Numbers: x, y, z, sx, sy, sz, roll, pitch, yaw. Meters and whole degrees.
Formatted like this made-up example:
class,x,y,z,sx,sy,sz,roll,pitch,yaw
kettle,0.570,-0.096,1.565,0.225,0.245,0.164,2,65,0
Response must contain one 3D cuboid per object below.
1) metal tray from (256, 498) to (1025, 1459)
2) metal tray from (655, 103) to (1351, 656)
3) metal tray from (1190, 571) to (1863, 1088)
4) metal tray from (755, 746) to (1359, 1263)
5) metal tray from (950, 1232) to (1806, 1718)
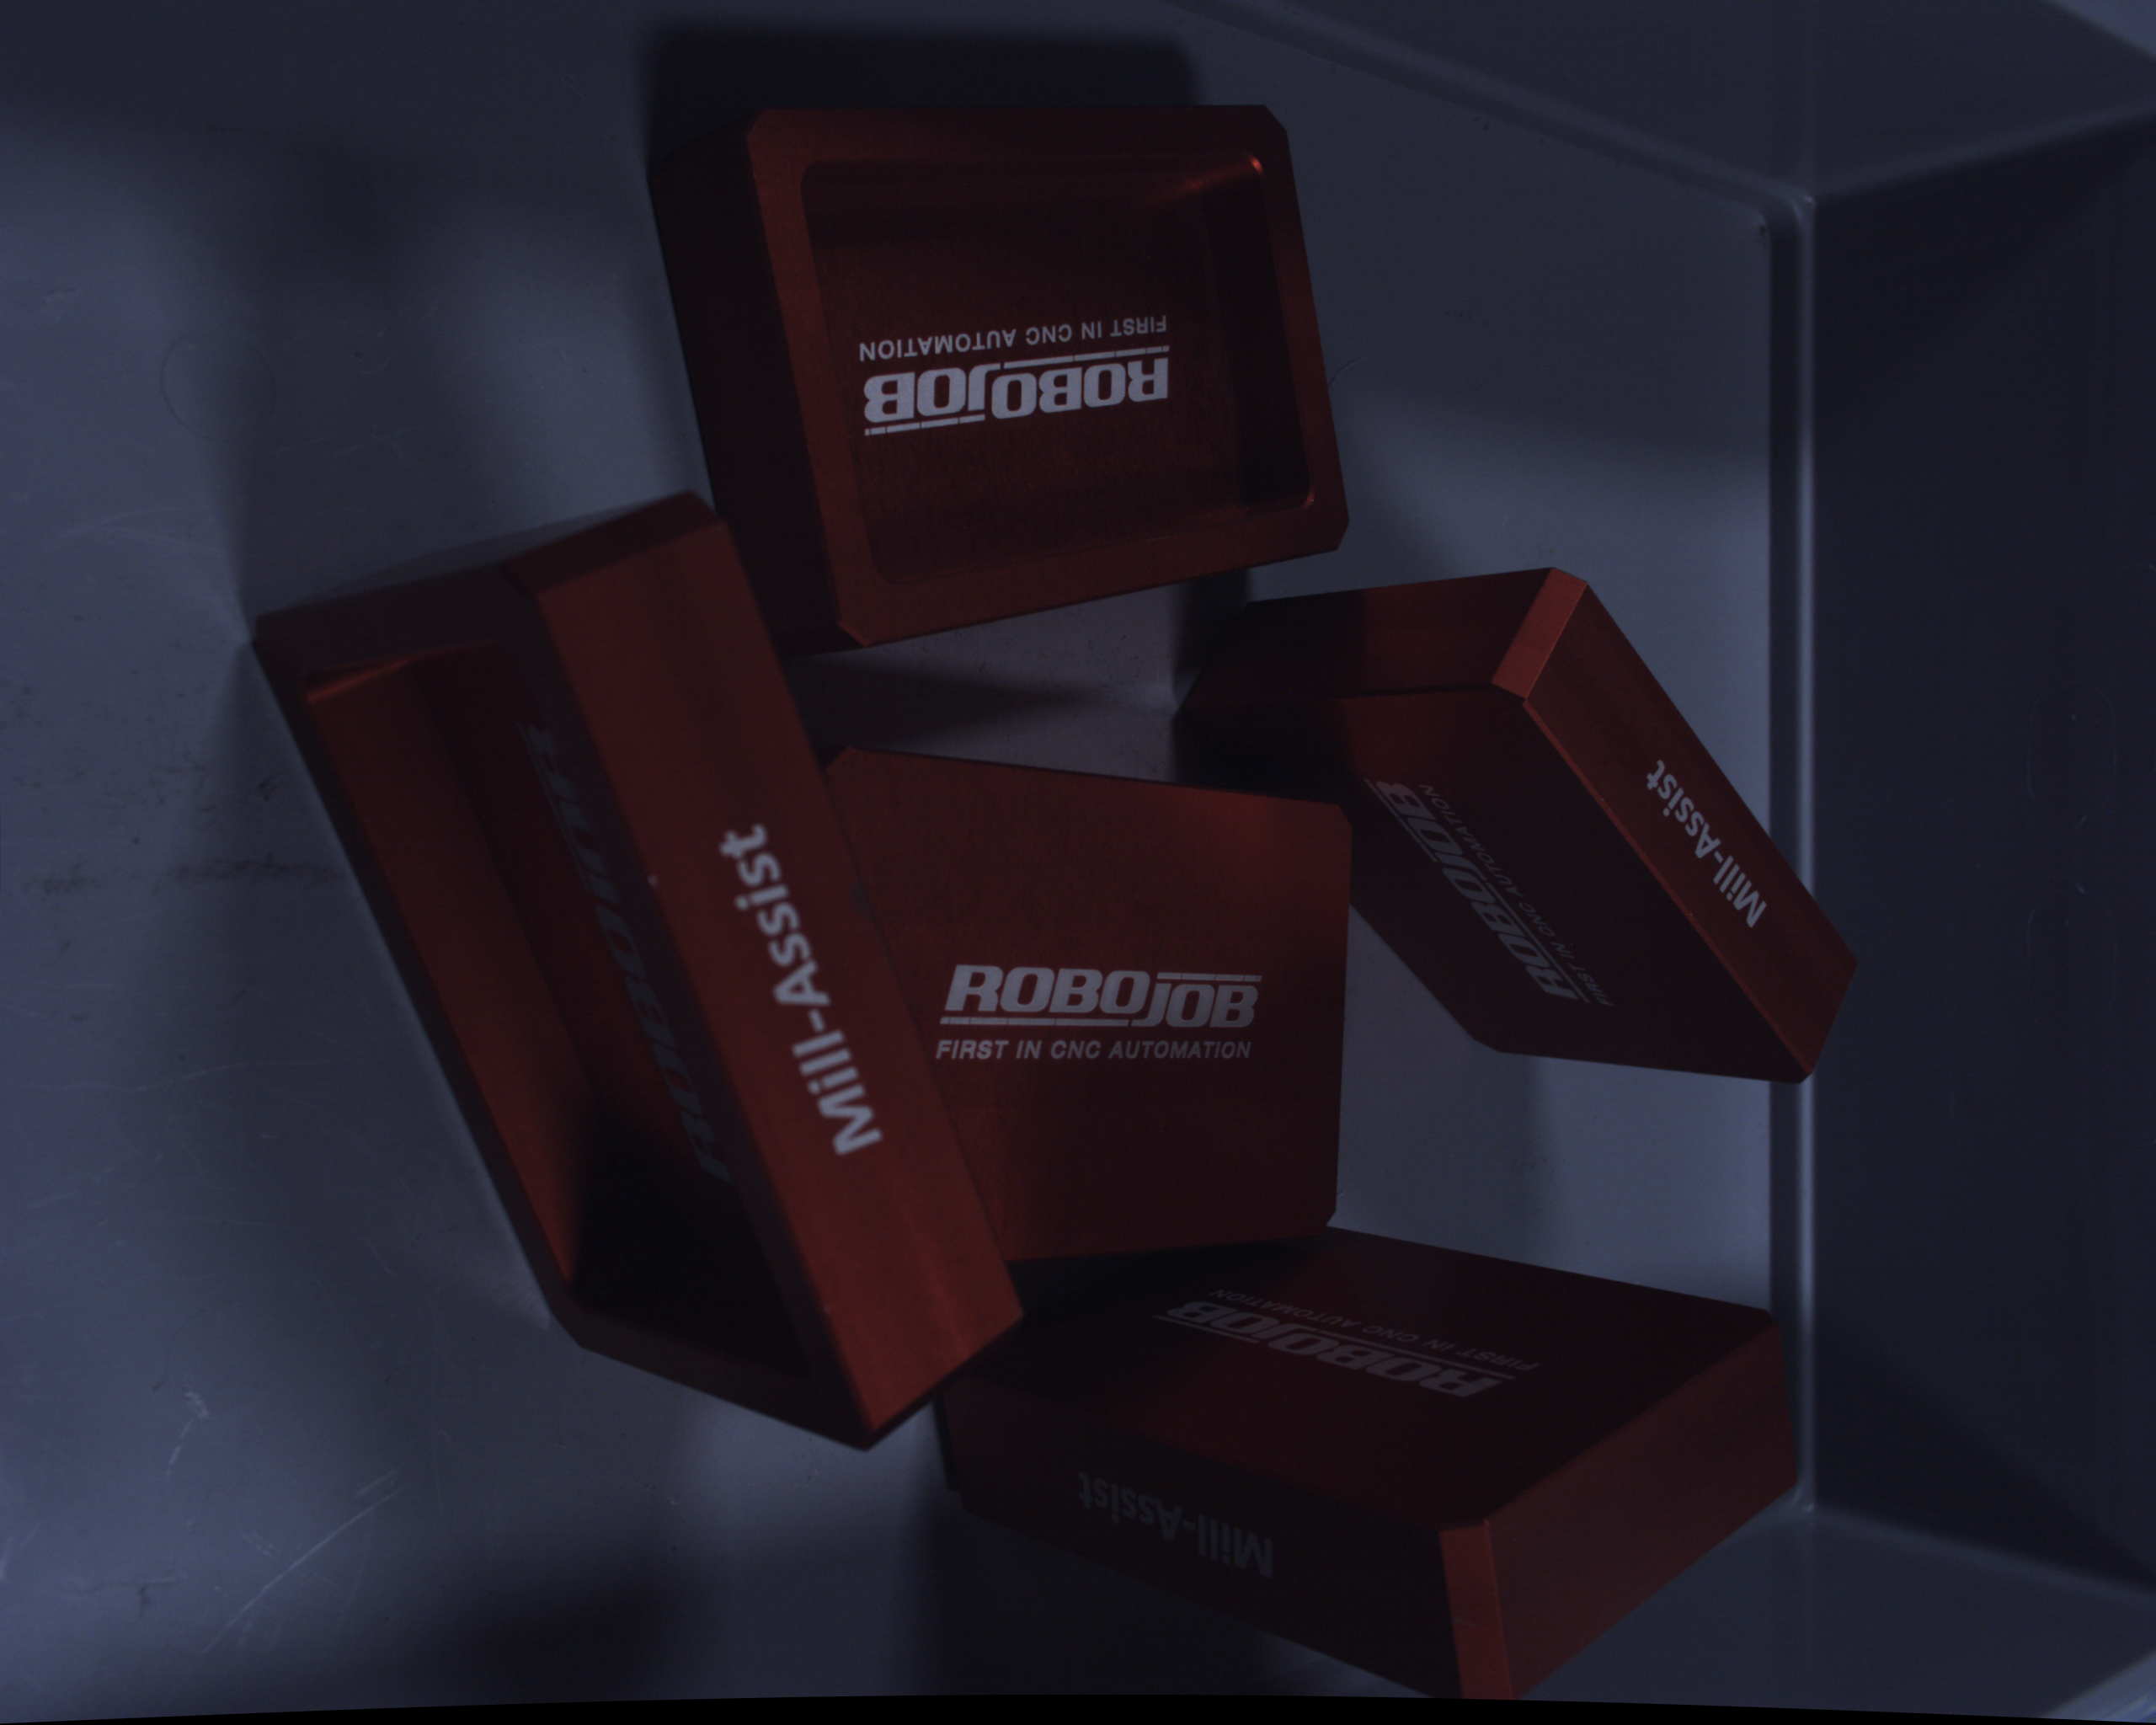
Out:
class,x,y,z,sx,sy,sz,roll,pitch,yaw
metal tray,-0.066,0.017,0.308,0.030,0.090,0.129,-31,110,-37
metal tray,-0.008,-0.094,0.396,0.131,0.030,0.089,-17,101,-39
metal tray,0.096,-0.004,0.444,0.130,0.090,0.030,45,63,-31
metal tray,-0.003,0.028,0.399,0.131,0.030,0.089,4,87,-40
metal tray,0.050,0.101,0.379,0.091,0.130,0.030,-17,101,-40
